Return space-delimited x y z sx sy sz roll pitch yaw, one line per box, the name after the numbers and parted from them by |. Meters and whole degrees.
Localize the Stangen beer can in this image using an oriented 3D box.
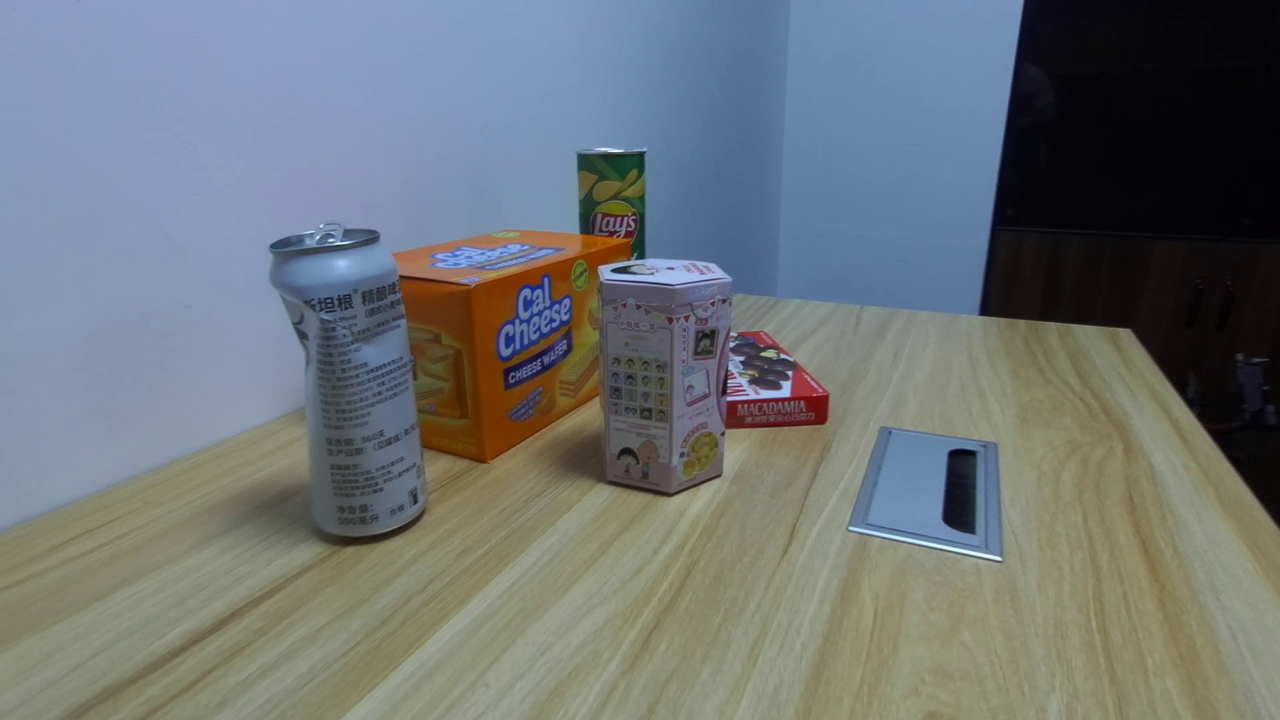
-0.163 0.014 0.393 0.069 0.173 0.070 2 18 10 | Stangen beer can

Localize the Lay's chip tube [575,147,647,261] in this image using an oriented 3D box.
-0.025 -0.110 0.718 0.071 0.202 0.071 -1 18 1 | Lay's chip tube

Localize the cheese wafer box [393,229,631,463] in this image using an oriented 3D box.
-0.119 -0.026 0.590 0.147 0.129 0.222 9 20 26 | cheese wafer box

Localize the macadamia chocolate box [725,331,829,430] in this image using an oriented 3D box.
0.090 0.014 0.623 0.096 0.027 0.177 -3 18 -6 | macadamia chocolate box

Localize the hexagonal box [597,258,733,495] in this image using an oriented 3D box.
0.016 0.008 0.460 0.084 0.136 0.091 -3 19 -6 | hexagonal box
